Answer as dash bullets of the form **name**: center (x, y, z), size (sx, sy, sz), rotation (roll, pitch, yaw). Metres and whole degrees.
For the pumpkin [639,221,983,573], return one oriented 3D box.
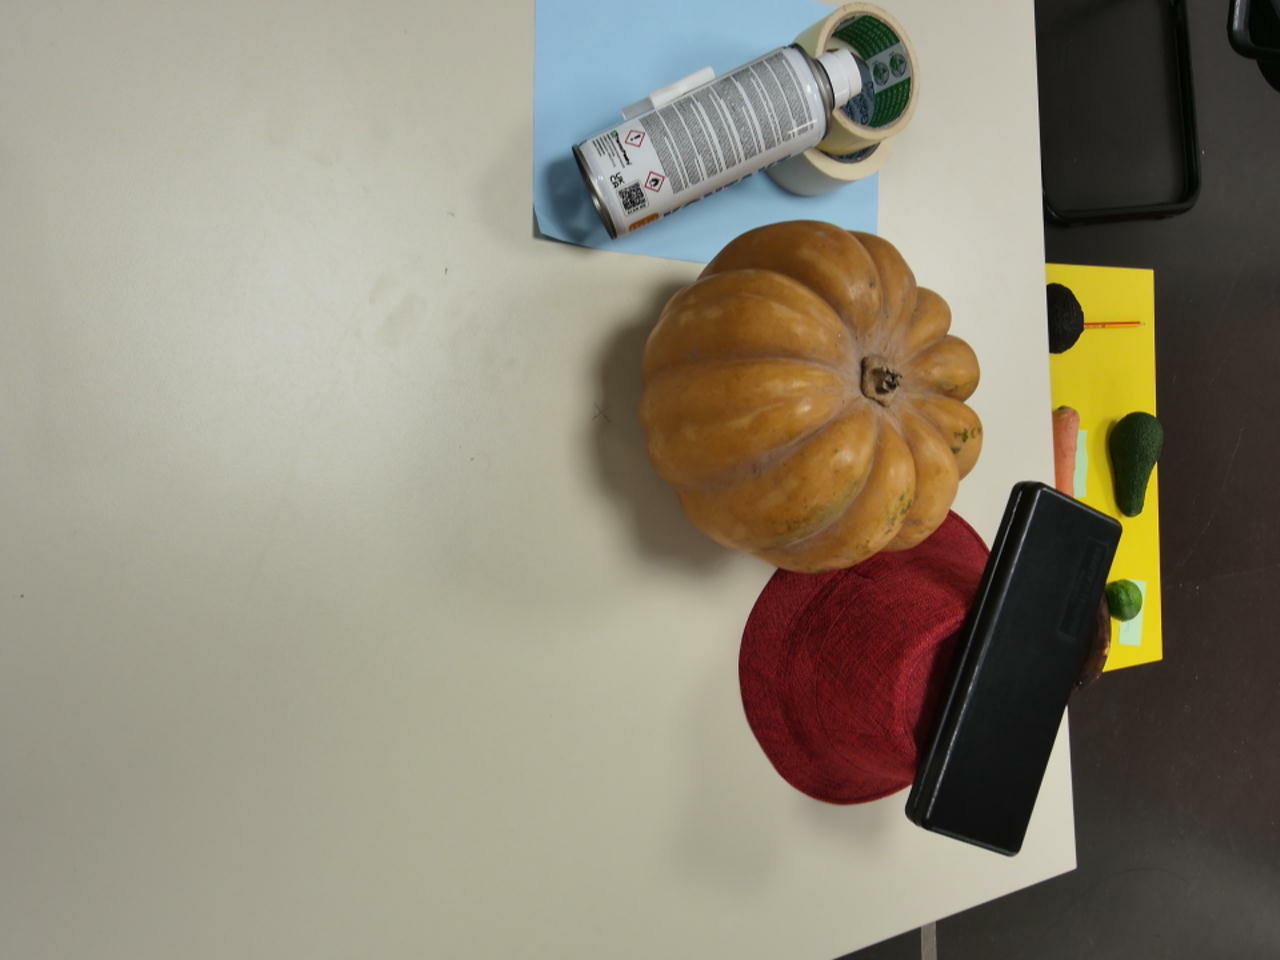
- **pumpkin**: center (0.108, -0.051, 0.657), size (0.230, 0.194, 0.230), rotation (0, 91, -28)
